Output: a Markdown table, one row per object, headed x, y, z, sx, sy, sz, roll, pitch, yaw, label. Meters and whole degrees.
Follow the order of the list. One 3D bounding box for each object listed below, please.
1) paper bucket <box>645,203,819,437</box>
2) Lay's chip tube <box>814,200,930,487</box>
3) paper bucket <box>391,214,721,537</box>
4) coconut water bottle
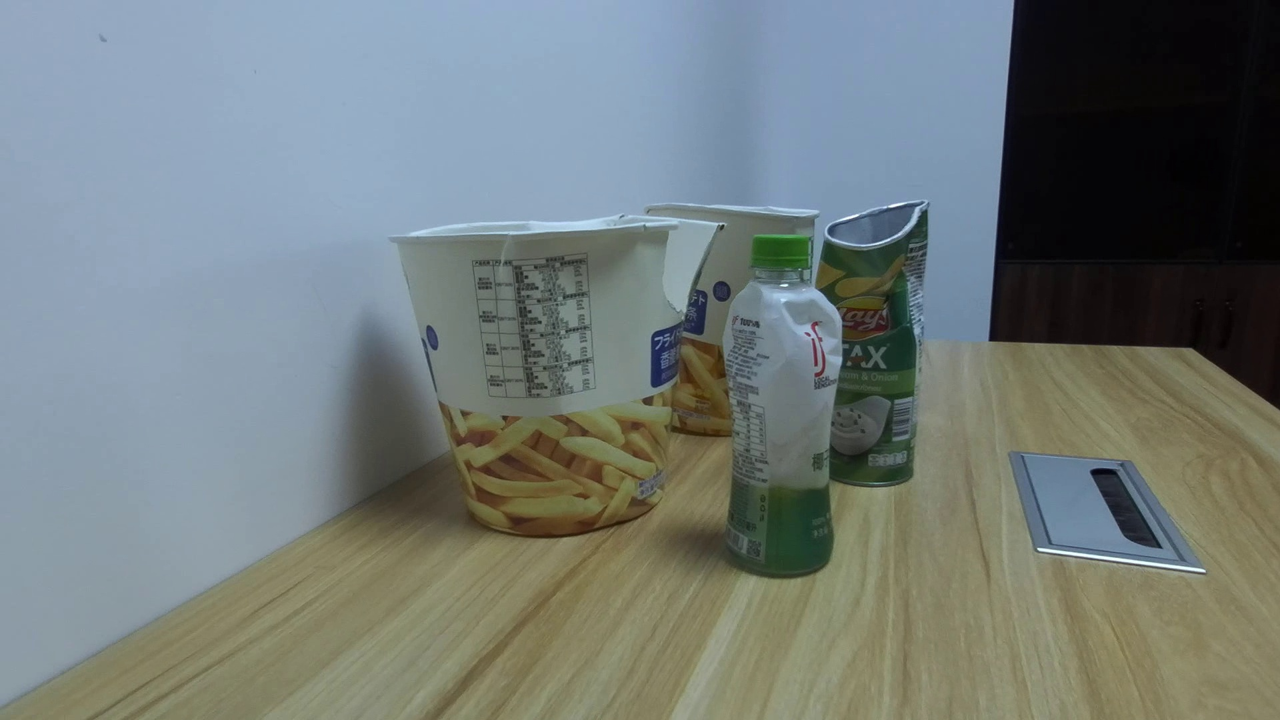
| x | y | z | sx | sy | sz | roll | pitch | yaw | label |
| --- | --- | --- | --- | --- | --- | --- | --- | --- | --- |
| 0.070 | -0.042 | 0.642 | 0.217 | 0.199 | 0.148 | 5 | 12 | 32 | paper bucket |
| 0.165 | -0.007 | 0.504 | 0.079 | 0.199 | 0.071 | -2 | 21 | 7 | Lay's chip tube |
| -0.053 | 0.002 | 0.499 | 0.203 | 0.197 | 0.145 | -9 | 17 | -21 | paper bucket |
| 0.080 | 0.024 | 0.401 | 0.067 | 0.187 | 0.067 | -2 | 13 | 1 | coconut water bottle |
